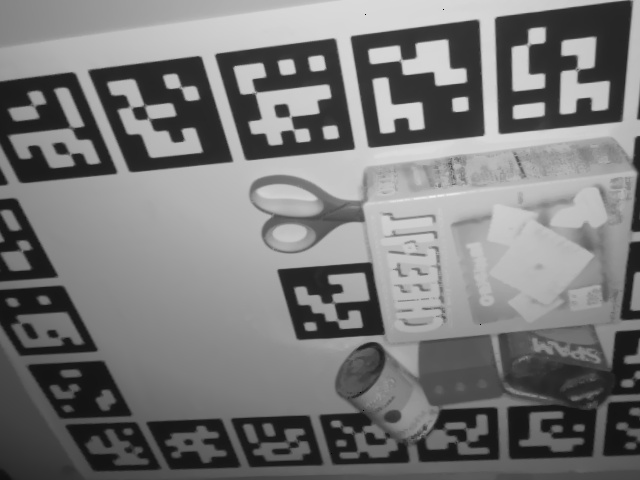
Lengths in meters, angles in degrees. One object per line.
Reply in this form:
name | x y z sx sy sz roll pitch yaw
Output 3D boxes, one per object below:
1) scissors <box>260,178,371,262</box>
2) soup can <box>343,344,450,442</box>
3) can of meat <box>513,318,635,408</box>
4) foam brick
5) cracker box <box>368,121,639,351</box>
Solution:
scissors | 0.048 -0.030 0.638 0.201 0.016 0.087 -10 121 12
soup can | 0.085 0.168 0.758 0.102 0.068 0.067 36 120 -23
can of meat | 0.244 0.111 0.682 0.102 0.084 0.057 6 123 3
foam brick | 0.159 0.137 0.730 0.077 0.052 0.052 -15 120 16
cracker box | 0.165 0.004 0.612 0.213 0.072 0.163 -13 122 9
